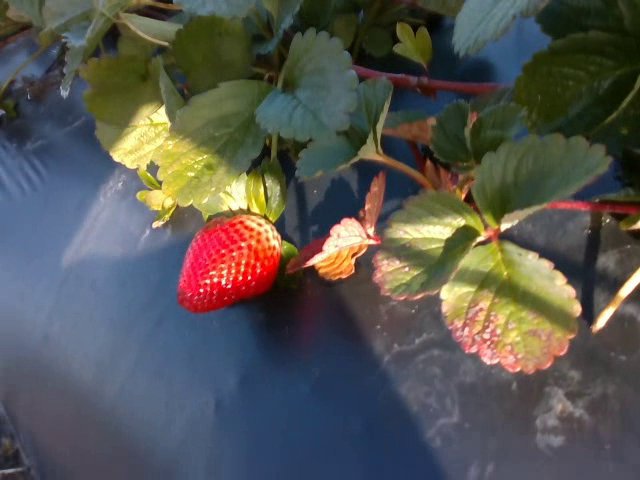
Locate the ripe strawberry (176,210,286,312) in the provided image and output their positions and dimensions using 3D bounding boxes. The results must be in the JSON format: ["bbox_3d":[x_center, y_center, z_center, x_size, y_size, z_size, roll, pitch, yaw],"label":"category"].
[{"bbox_3d":[-0.039,0.010,0.227,0.040,0.041,0.056,-32,14,45],"label":"ripe strawberry"}]
